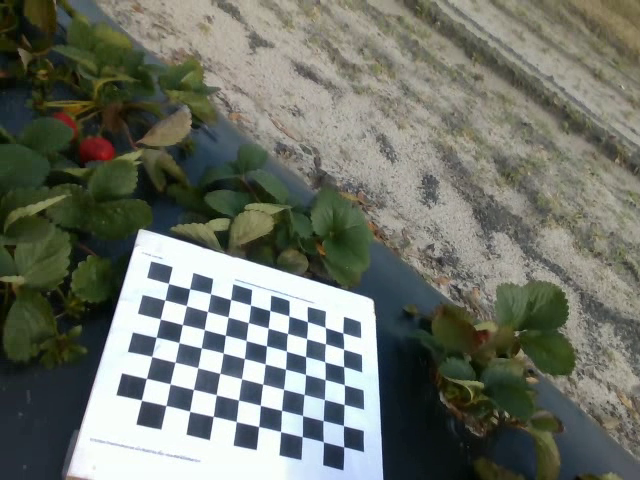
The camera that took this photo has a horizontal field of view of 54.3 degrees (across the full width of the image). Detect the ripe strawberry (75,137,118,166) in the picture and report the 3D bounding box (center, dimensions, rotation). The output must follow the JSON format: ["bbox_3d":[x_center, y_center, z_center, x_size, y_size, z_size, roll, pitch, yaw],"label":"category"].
[{"bbox_3d":[-0.307,-0.126,0.854,0.057,0.051,0.064,4,17,-33],"label":"ripe strawberry"}]

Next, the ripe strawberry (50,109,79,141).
[{"bbox_3d":[-0.361,-0.156,0.857,0.048,0.041,0.056,28,18,-7],"label":"ripe strawberry"}]
